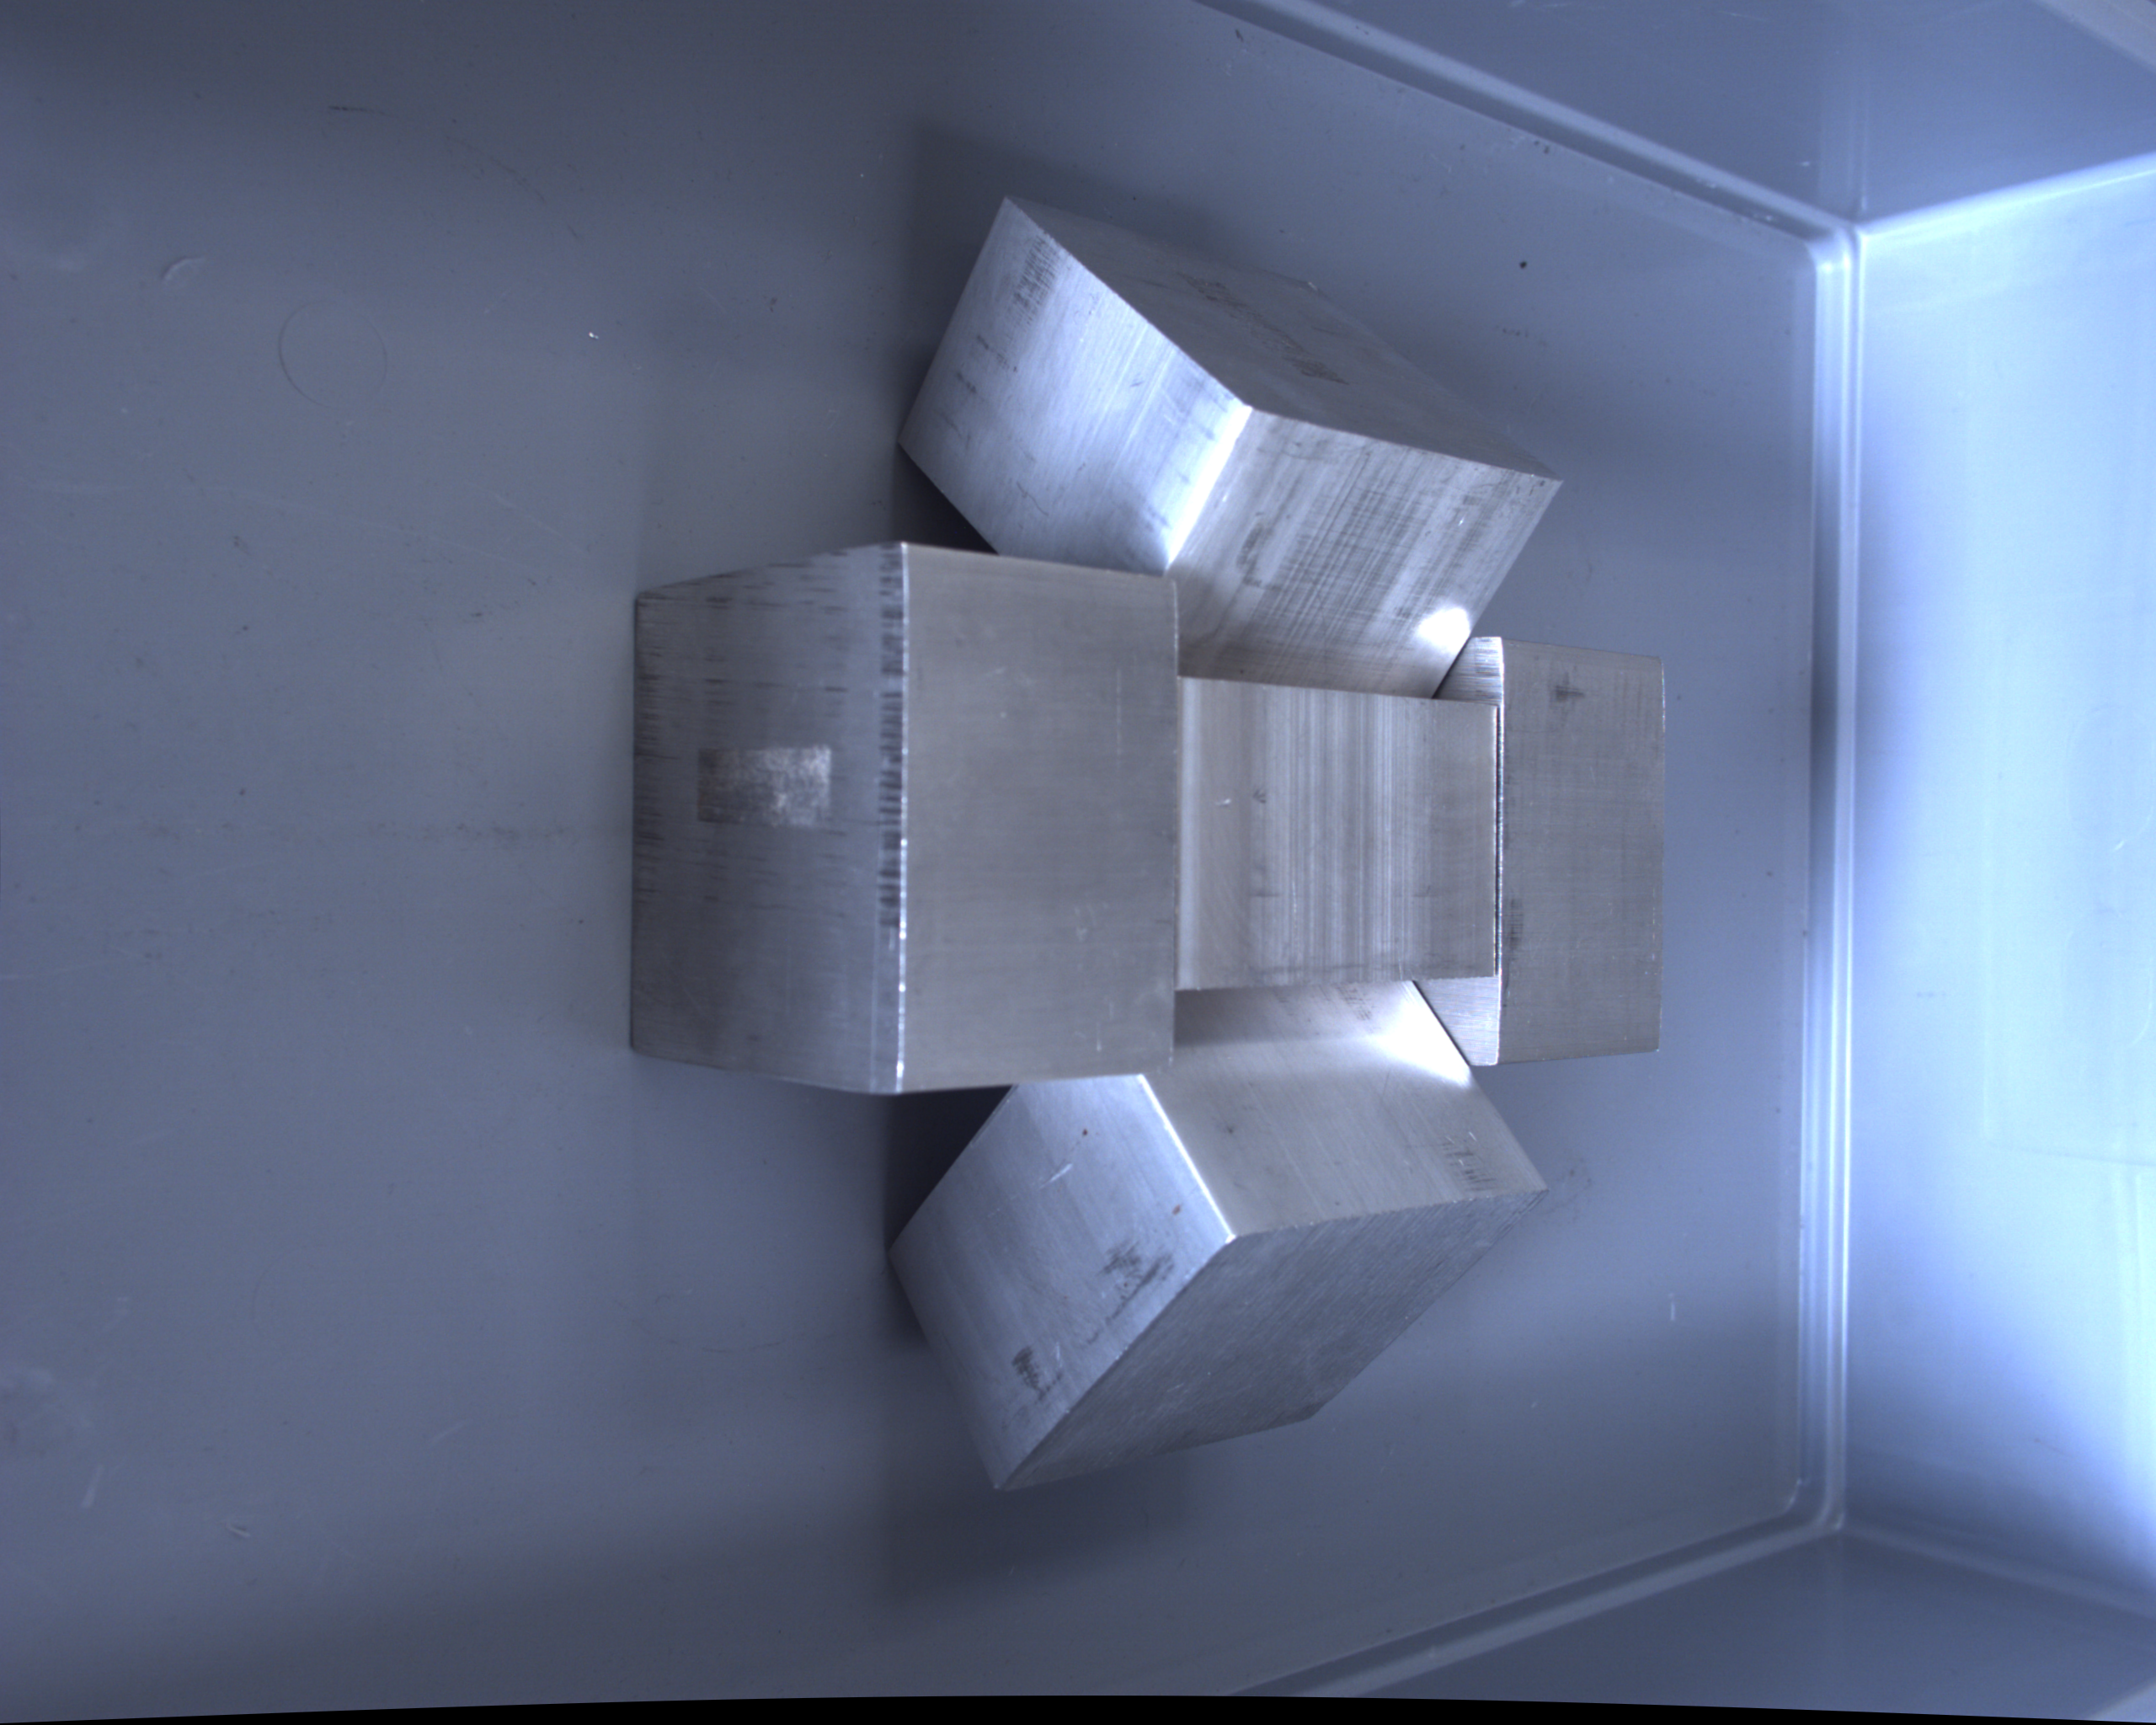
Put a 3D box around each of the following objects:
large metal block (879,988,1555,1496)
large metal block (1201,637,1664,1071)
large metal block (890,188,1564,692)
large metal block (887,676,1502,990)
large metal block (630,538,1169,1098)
[{"bbox_3d":[0.024,0.066,0.381,0.081,0.080,0.050,1,48,-41],"label":"large metal block"},{"bbox_3d":[0.071,-0.002,0.429,0.050,0.080,0.080,1,90,-40],"label":"large metal block"},{"bbox_3d":[0.026,-0.075,0.382,0.081,0.080,0.050,2,126,-40],"label":"large metal block"},{"bbox_3d":[0.021,-0.005,0.386,0.081,0.080,0.050,1,90,-40],"label":"large metal block"},{"bbox_3d":[-0.031,-0.006,0.343,0.050,0.080,0.080,1,90,-40],"label":"large metal block"}]
